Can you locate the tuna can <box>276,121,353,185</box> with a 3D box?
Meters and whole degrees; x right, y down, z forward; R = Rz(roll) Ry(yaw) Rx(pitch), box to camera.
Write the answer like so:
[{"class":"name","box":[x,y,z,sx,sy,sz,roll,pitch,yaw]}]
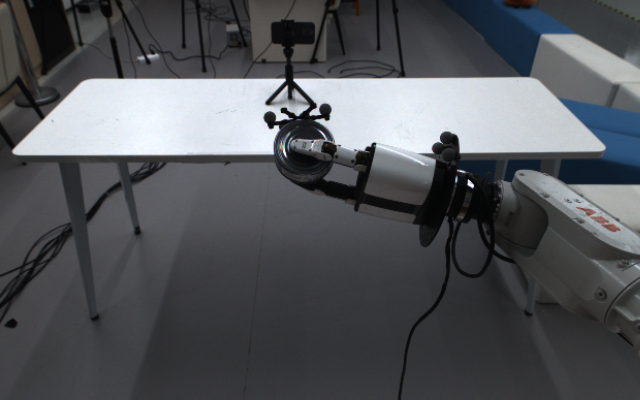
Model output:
[{"class":"tuna can","box":[-0.018,-0.063,0.667,0.085,0.034,0.085,0,72,-1]}]
